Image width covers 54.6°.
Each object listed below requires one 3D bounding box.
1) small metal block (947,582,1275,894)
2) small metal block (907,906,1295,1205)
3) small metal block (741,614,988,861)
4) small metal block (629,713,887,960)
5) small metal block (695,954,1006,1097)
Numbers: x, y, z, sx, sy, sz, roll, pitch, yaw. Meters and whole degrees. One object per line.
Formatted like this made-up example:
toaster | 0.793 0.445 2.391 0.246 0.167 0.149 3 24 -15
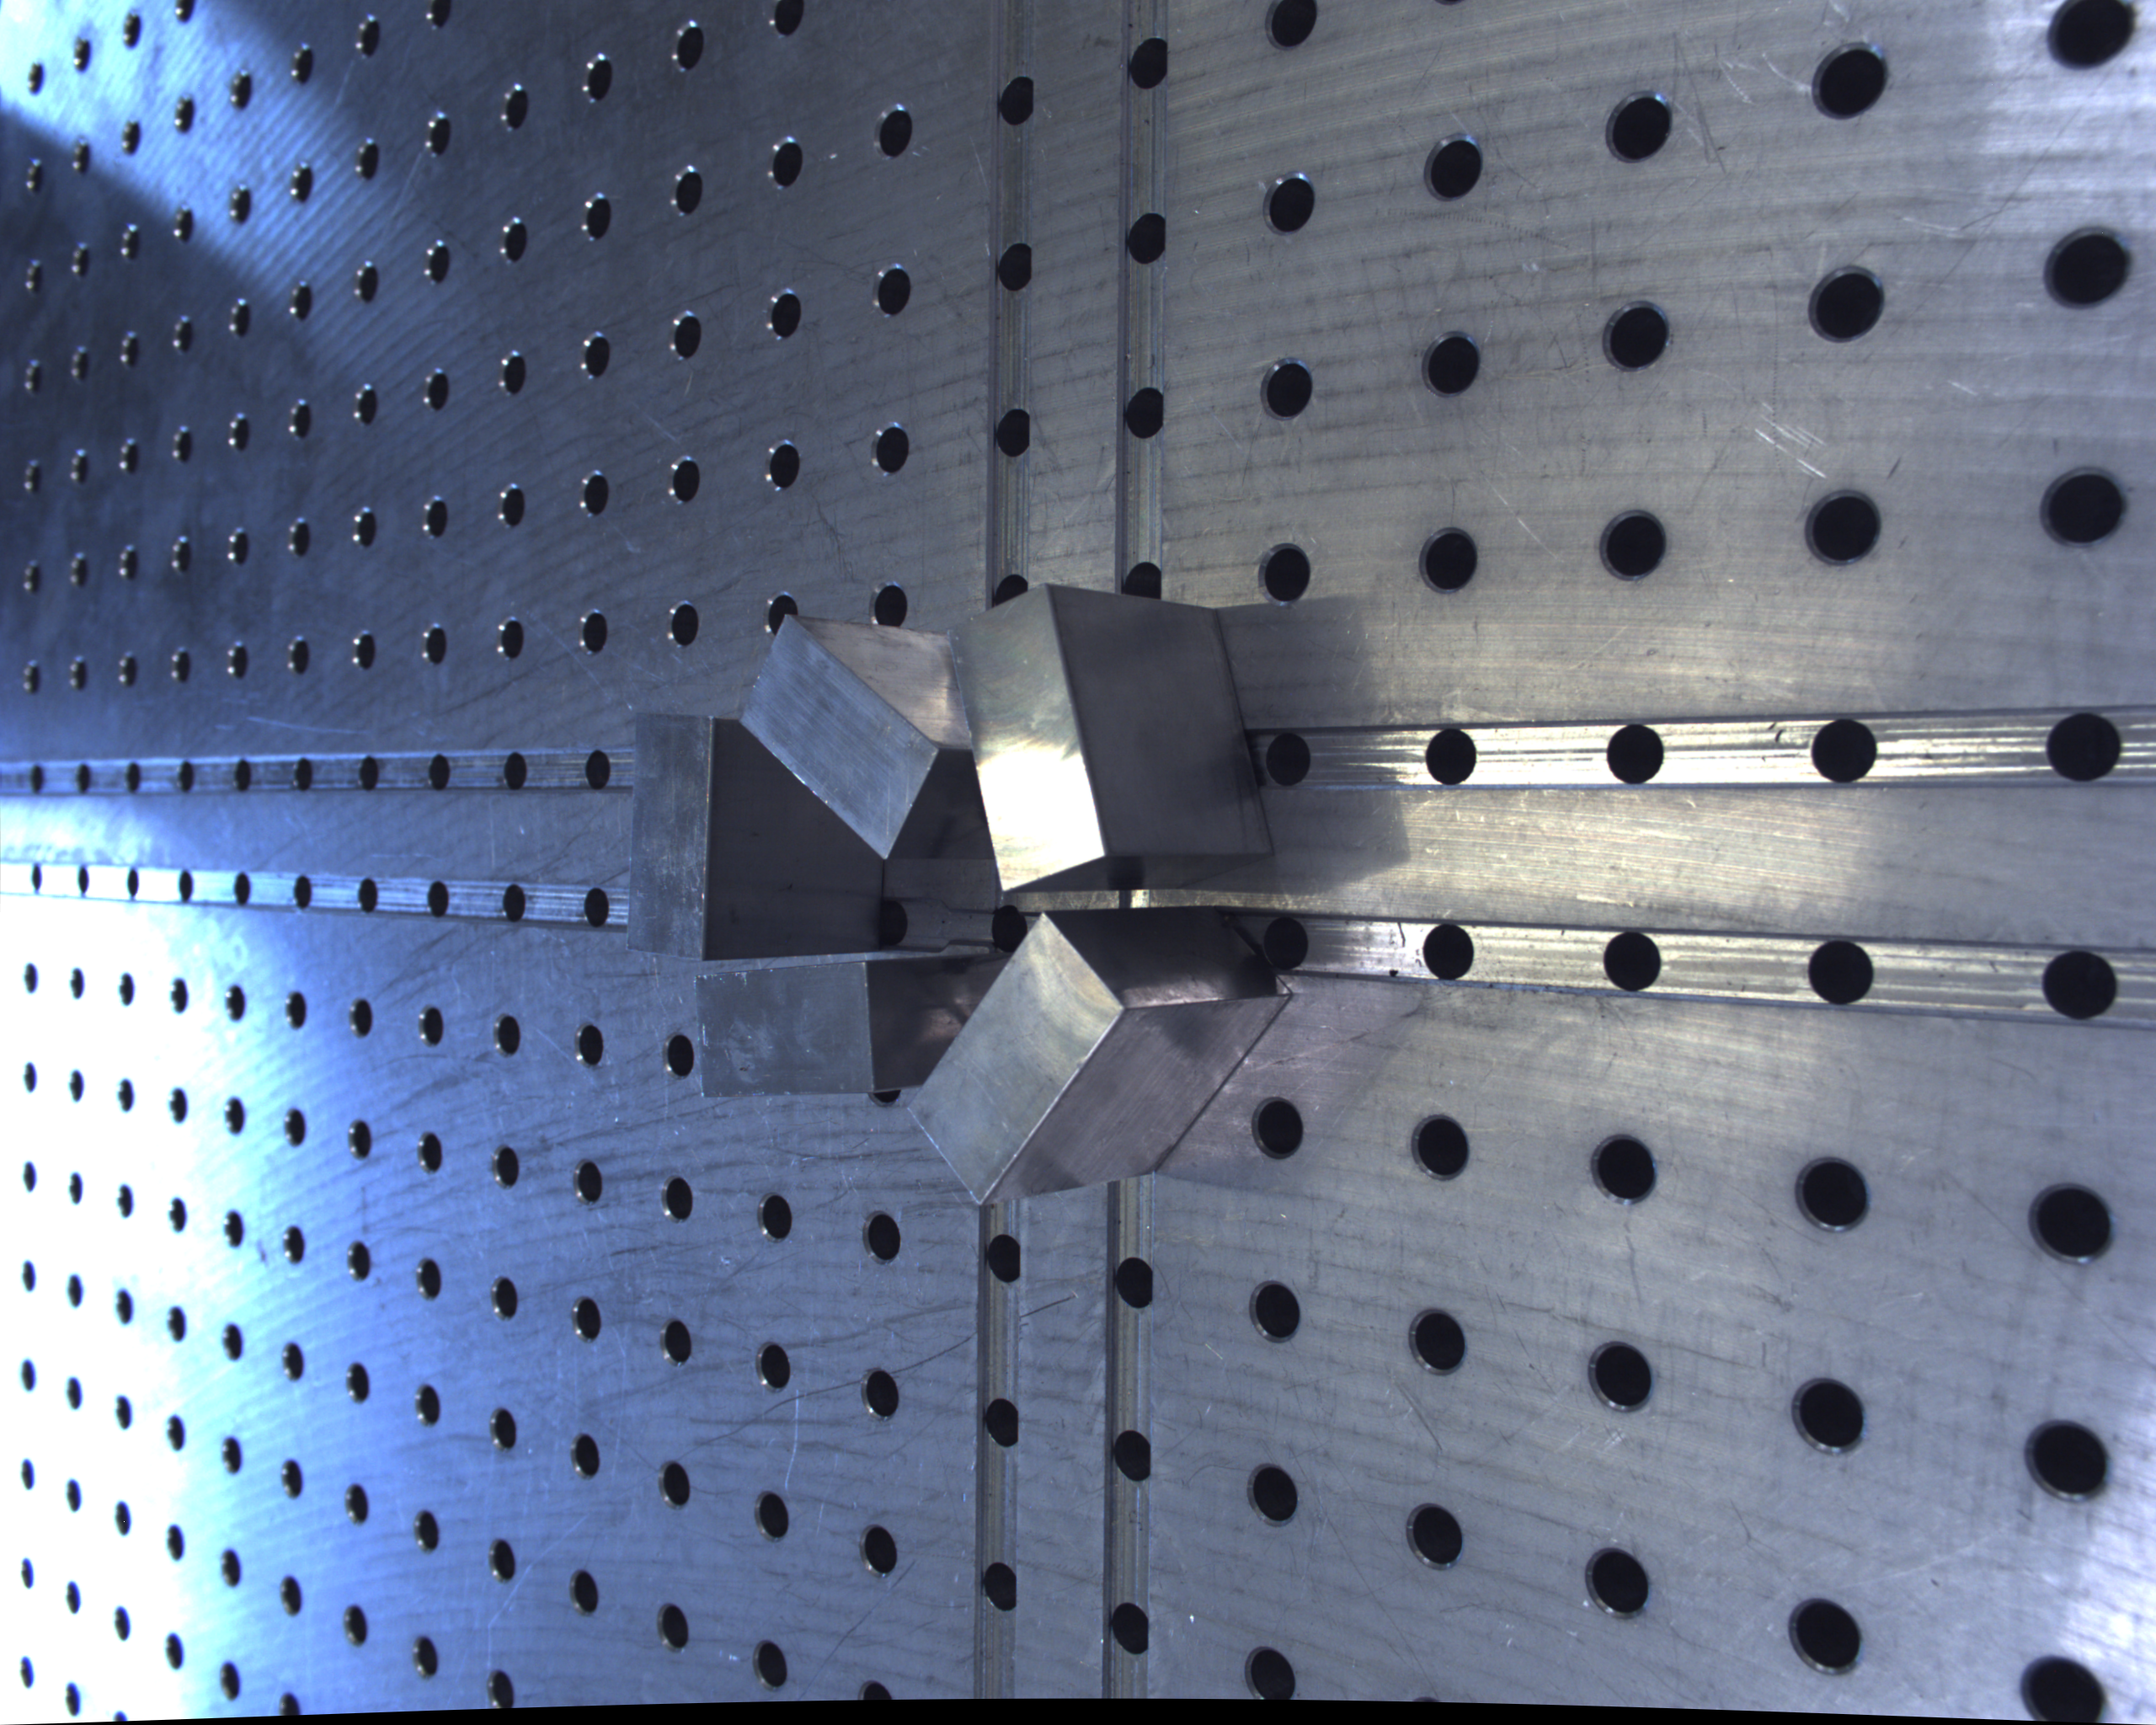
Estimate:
small metal block | 0.007 -0.022 0.388 0.025 0.050 0.050 -21 76 38
small metal block | 0.004 0.035 0.390 0.025 0.050 0.050 50 120 29
small metal block | -0.030 -0.025 0.419 0.050 0.050 0.025 41 116 32
small metal block | -0.068 -0.006 0.450 0.025 0.050 0.050 5 94 40
small metal block | -0.042 0.033 0.428 0.050 0.050 0.025 -6 86 40
